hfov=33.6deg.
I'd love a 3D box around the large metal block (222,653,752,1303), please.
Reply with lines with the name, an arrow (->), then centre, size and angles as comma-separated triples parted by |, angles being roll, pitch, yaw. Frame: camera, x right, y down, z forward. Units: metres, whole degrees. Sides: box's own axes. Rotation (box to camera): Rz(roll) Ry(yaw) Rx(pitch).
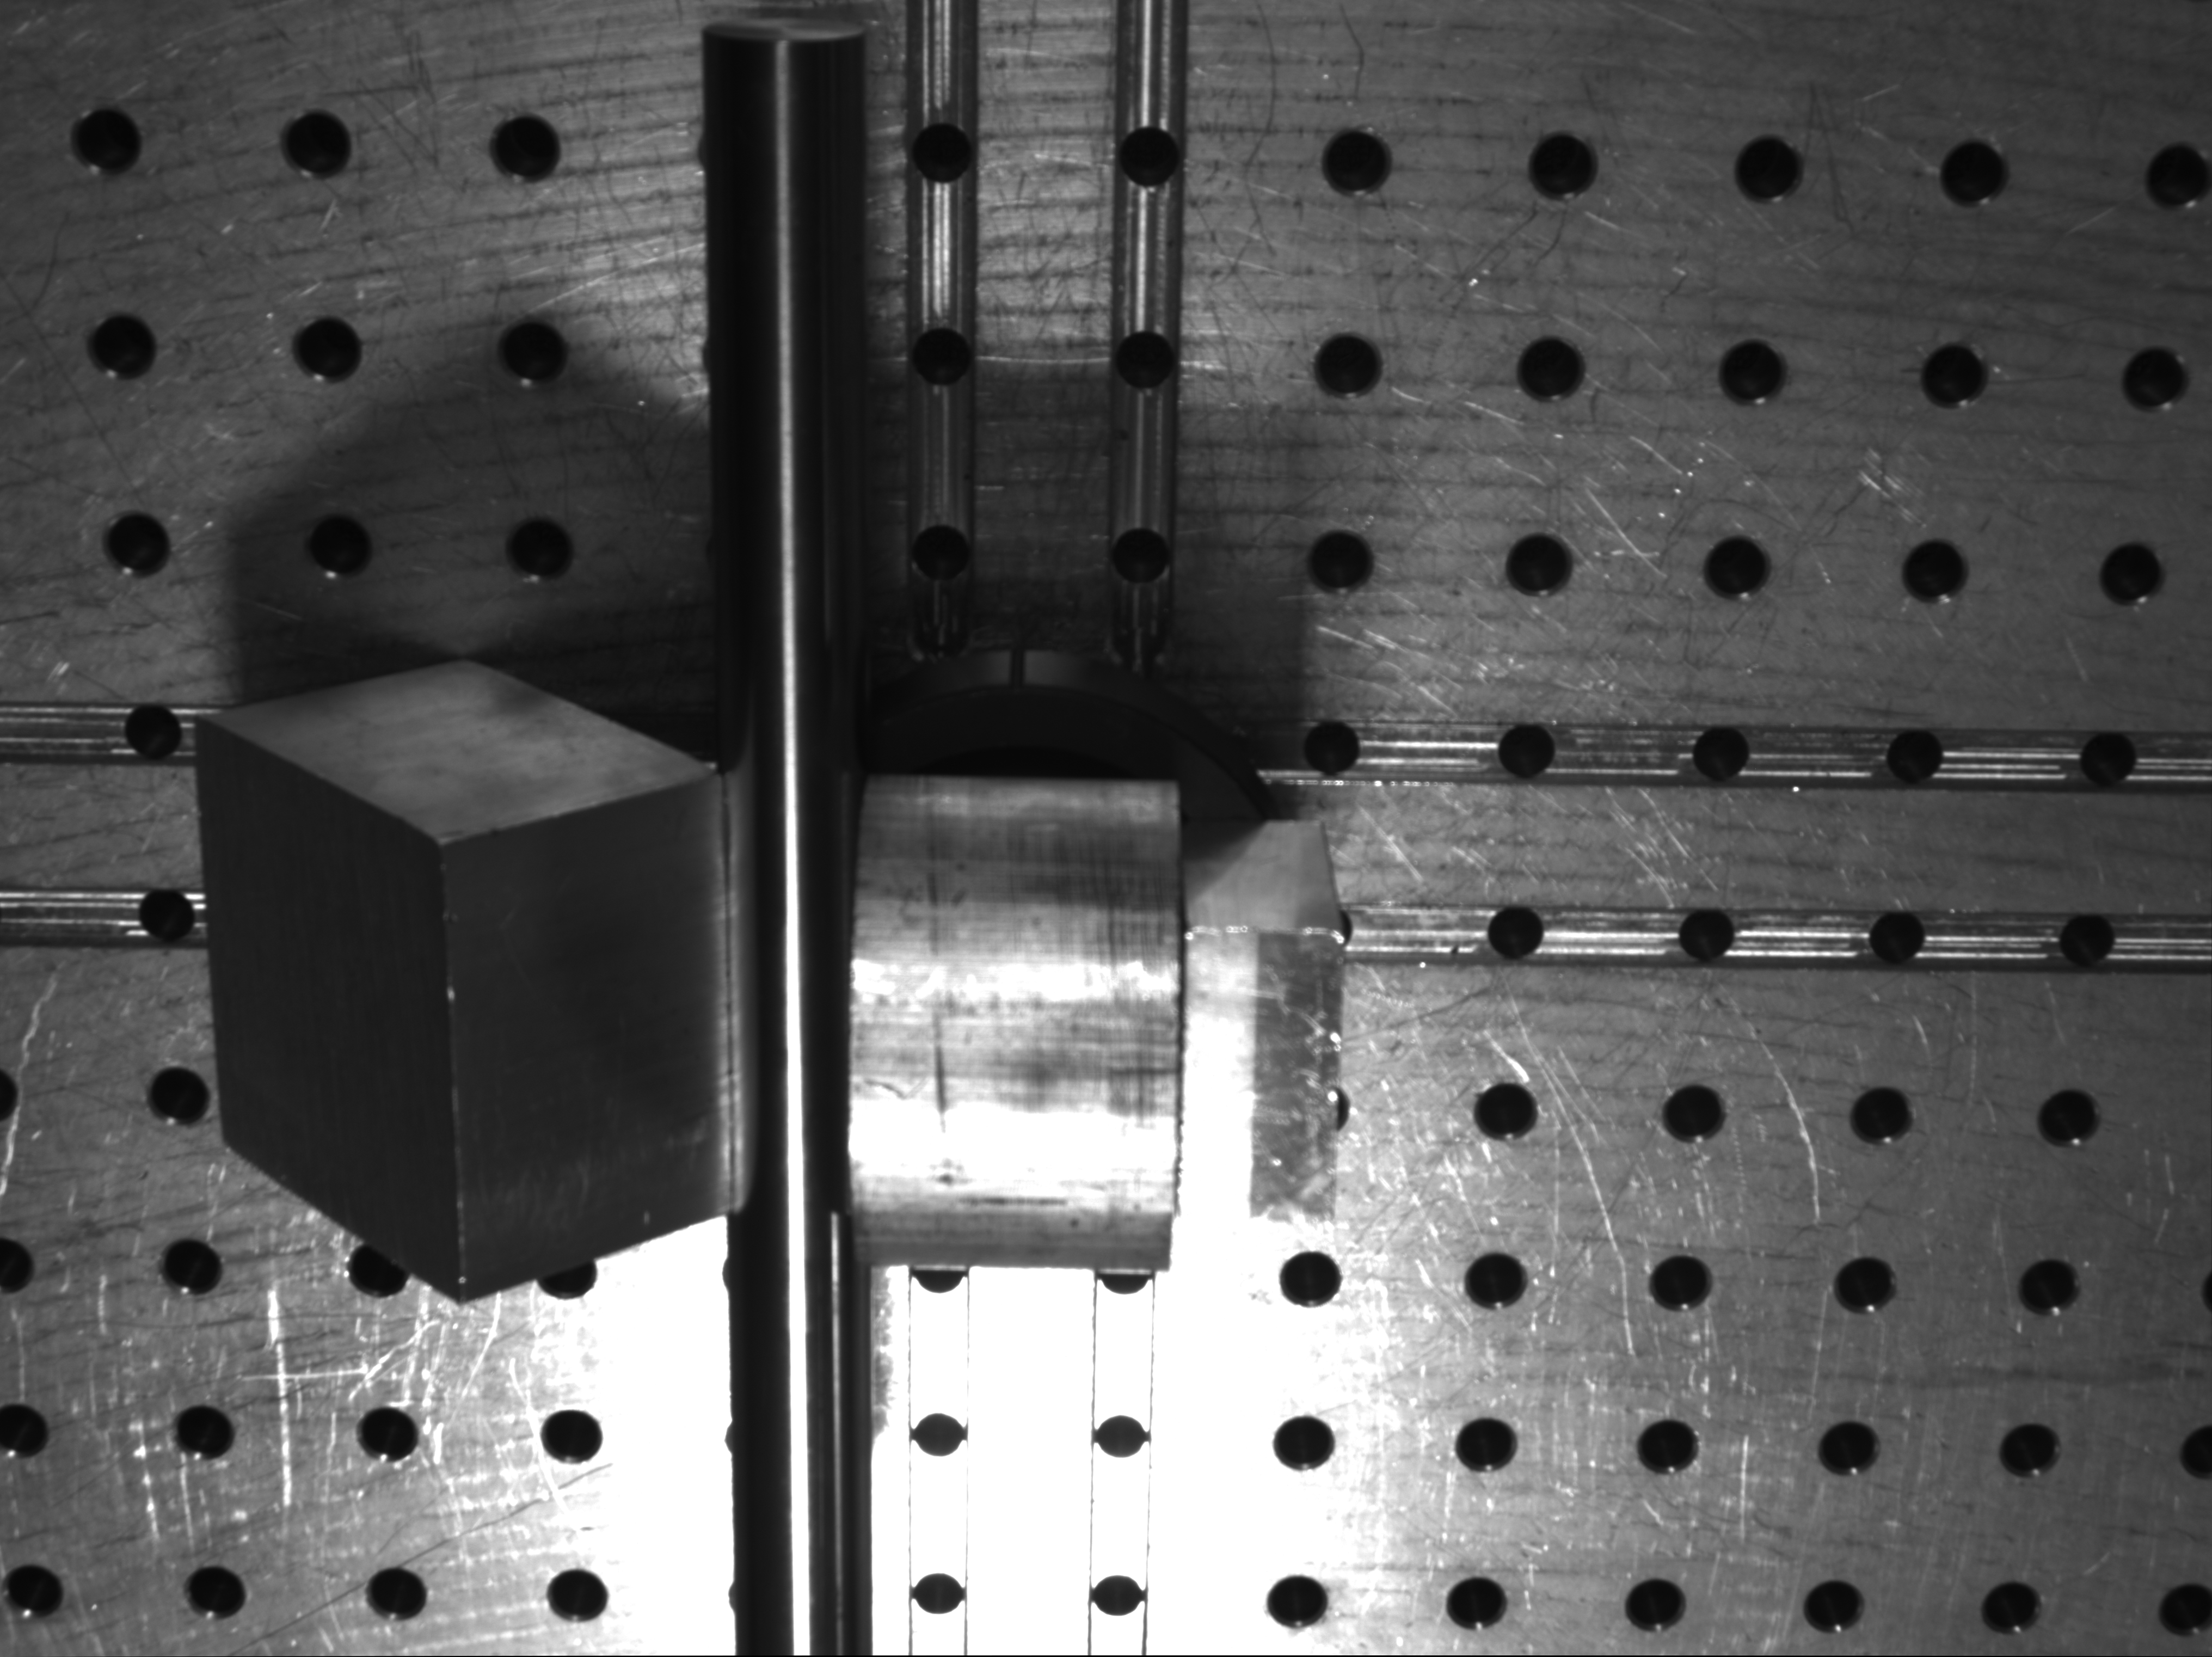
large metal block -> -0.104, 0.022, 0.617 | 0.050, 0.080, 0.080 | -16, 116, -39

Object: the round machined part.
round machined part -> -0.011, 0.016, 0.641 | 0.098, 0.042, 0.098 | 0, 110, -1

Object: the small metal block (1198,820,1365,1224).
small metal block -> 0.027, 0.031, 0.599 | 0.025, 0.050, 0.050 | 1, 110, -1

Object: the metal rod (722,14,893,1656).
metal rod -> -0.048, 0.019, 0.608 | 0.025, 0.025, 0.300 | 1, 110, -1

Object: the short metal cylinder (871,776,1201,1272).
short metal cylinder -> -0.011, 0.032, 0.596 | 0.050, 0.080, 0.080 | 1, 110, -1
